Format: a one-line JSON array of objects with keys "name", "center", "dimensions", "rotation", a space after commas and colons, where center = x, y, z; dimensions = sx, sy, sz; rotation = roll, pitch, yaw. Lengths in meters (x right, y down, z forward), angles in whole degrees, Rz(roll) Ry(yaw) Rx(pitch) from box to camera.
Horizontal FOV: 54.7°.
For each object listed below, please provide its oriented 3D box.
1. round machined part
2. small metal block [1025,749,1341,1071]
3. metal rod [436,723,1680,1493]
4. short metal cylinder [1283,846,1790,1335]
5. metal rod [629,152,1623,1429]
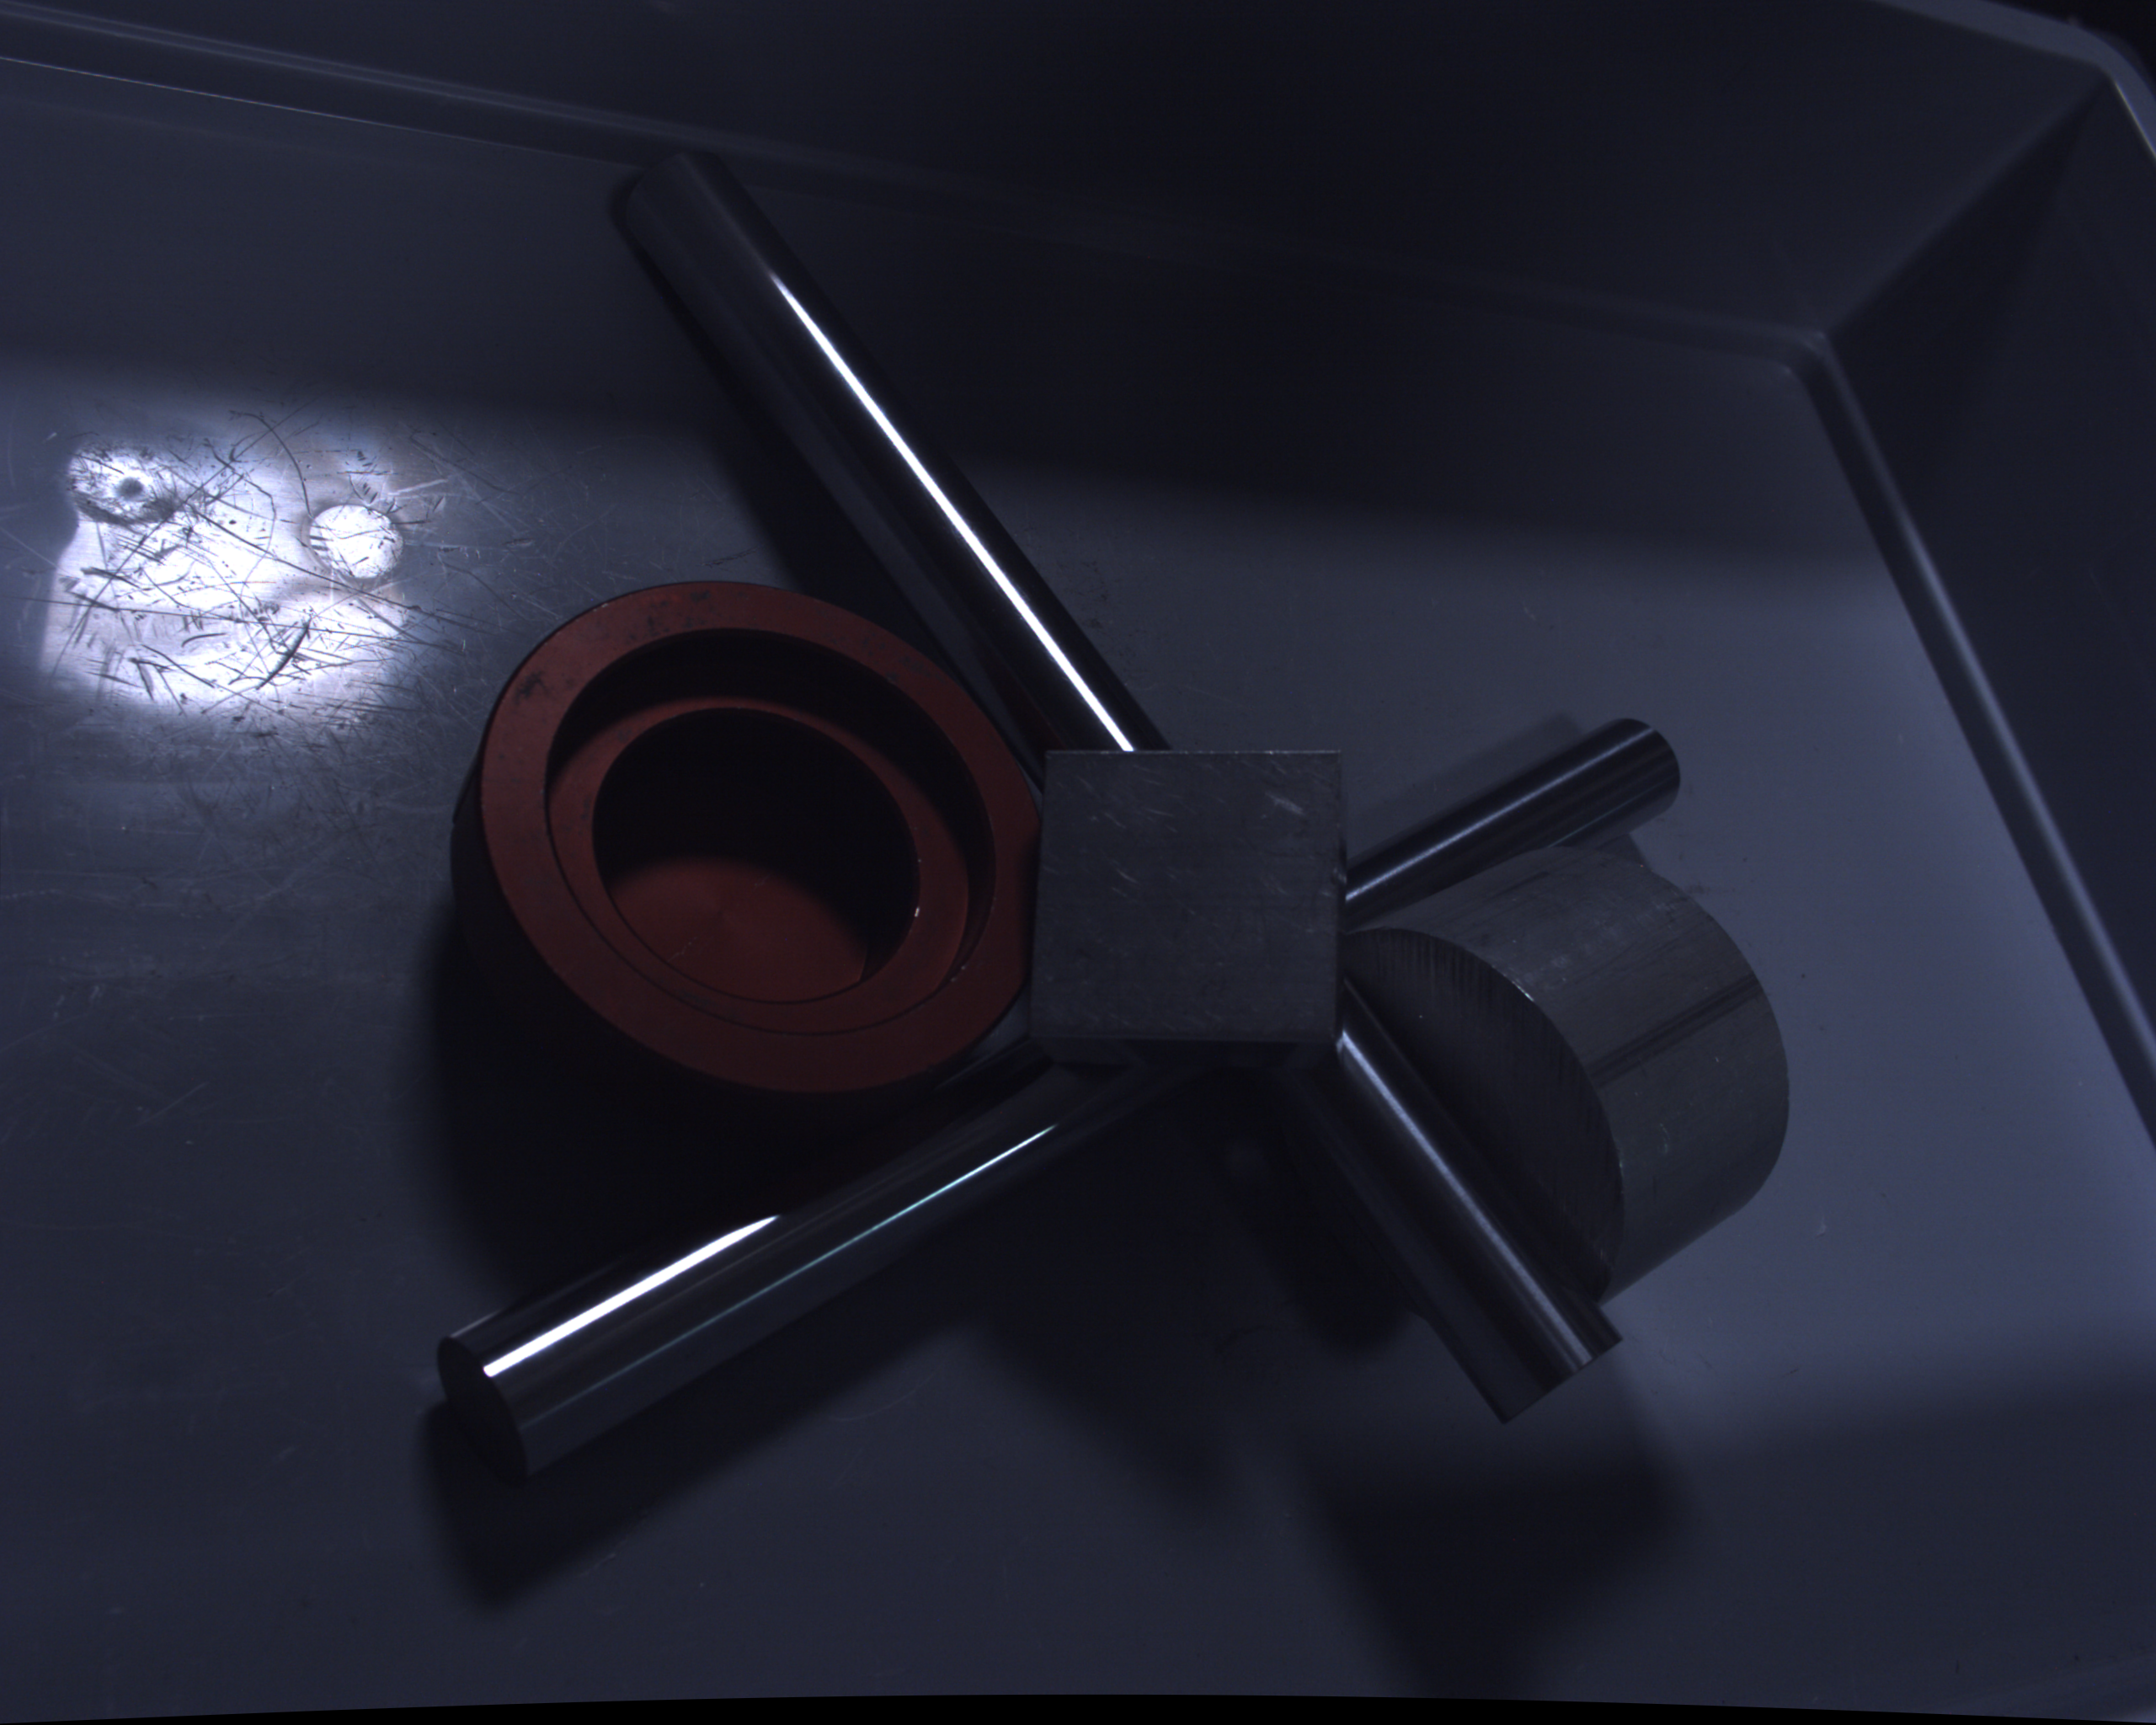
[{"name": "round machined part", "center": [-0.059, 0.003, 0.361], "dimensions": [0.099, 0.042, 0.098], "rotation": [14, 56, -21]}, {"name": "small metal block", "center": [0.020, 0.008, 0.358], "dimensions": [0.050, 0.025, 0.050], "rotation": [1, 74, 10]}, {"name": "metal rod", "center": [0.021, 0.030, 0.398], "dimensions": [0.302, 0.025, 0.025], "rotation": [-25, 76, -37]}, {"name": "short metal cylinder", "center": [0.083, 0.042, 0.389], "dimensions": [0.050, 0.080, 0.080], "rotation": [-22, 74, -36]}, {"name": "metal rod", "center": [-0.002, -0.027, 0.398], "dimensions": [0.025, 0.025, 0.299], "rotation": [-21, 66, -36]}]
